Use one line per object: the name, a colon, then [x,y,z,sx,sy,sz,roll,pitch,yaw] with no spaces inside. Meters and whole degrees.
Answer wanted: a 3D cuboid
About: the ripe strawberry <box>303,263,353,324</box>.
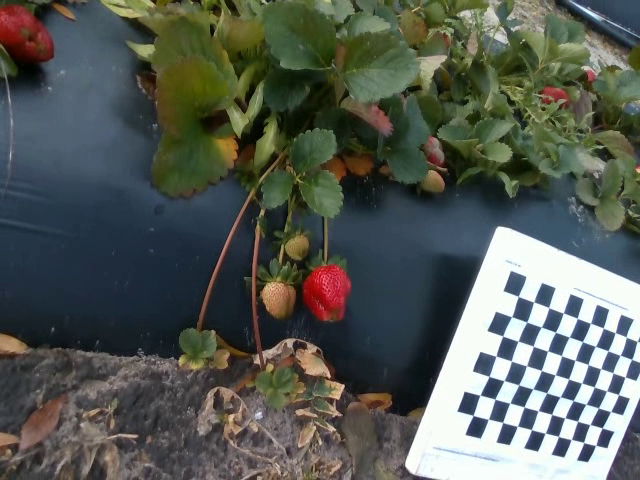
ripe strawberry: [0.012,0.054,0.589,0.066,0.075,0.052,0,10,-23]
